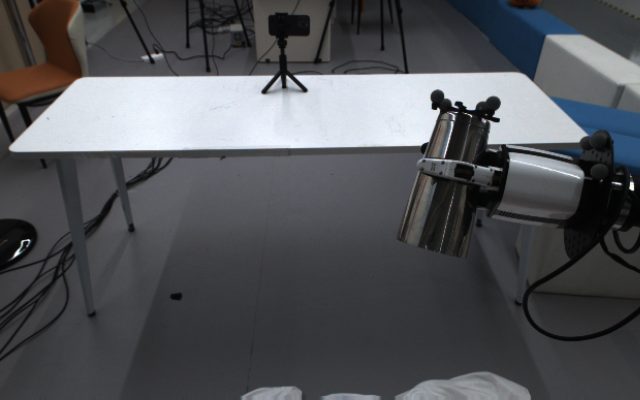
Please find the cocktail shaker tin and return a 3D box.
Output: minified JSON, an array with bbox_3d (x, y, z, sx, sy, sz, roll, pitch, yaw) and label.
[{"bbox_3d":[0.162,-0.022,0.618,0.093,0.170,0.093,14,2,0],"label":"cocktail shaker tin"}]
